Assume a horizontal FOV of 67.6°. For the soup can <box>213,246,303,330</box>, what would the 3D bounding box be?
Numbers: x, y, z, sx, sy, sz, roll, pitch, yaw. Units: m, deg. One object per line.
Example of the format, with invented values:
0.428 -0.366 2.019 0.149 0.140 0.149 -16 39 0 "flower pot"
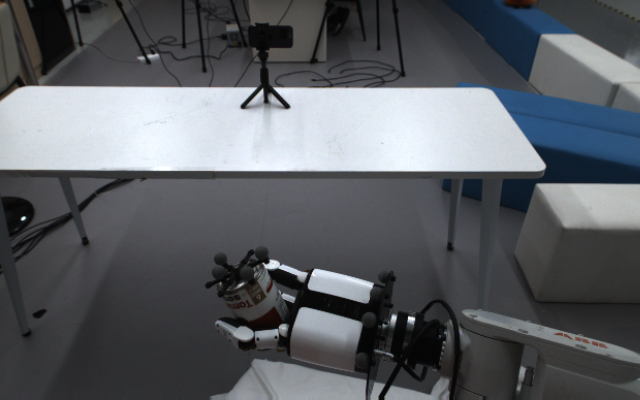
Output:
-0.080 0.138 0.636 0.067 0.101 0.067 -22 24 10 "soup can"
